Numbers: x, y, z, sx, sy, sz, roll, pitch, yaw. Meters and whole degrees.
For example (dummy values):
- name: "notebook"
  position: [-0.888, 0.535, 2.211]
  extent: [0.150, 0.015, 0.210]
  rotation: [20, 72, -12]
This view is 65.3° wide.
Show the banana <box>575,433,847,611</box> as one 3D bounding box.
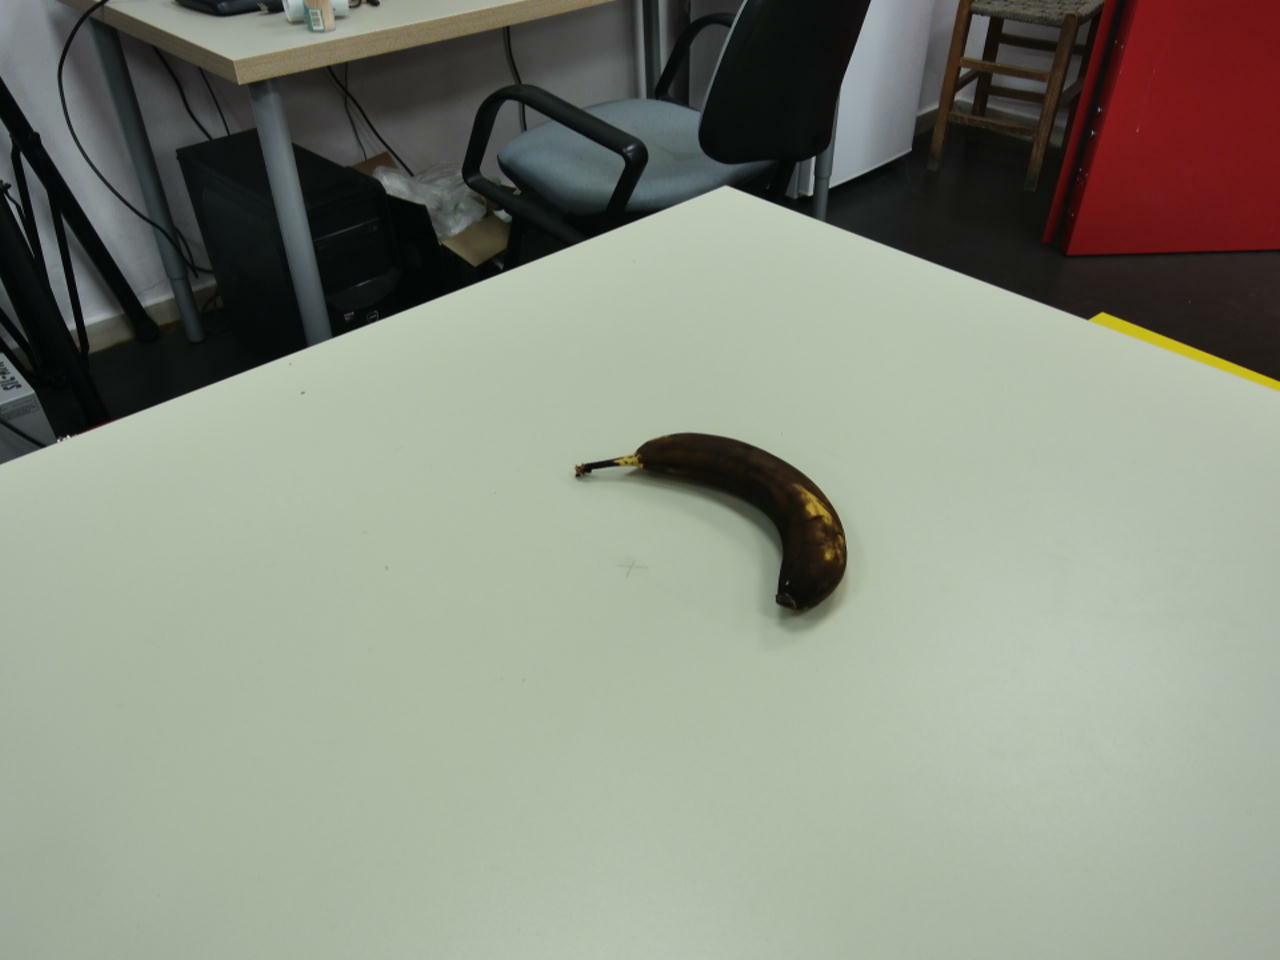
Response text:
- name: "banana"
  position: [0.053, 0.009, 0.596]
  extent: [0.091, 0.034, 0.188]
  rotation: [-28, 44, -31]
